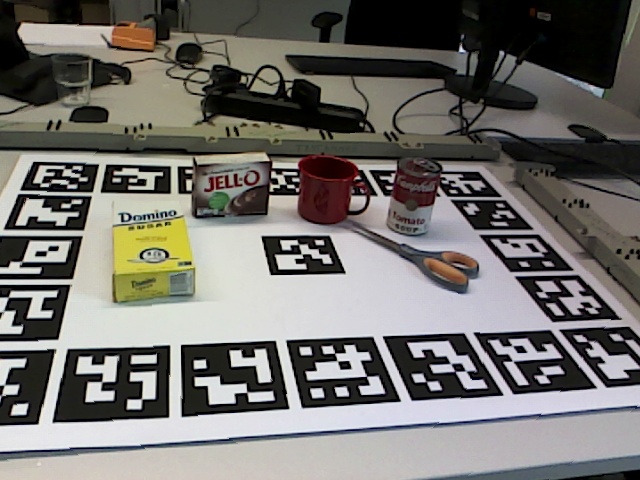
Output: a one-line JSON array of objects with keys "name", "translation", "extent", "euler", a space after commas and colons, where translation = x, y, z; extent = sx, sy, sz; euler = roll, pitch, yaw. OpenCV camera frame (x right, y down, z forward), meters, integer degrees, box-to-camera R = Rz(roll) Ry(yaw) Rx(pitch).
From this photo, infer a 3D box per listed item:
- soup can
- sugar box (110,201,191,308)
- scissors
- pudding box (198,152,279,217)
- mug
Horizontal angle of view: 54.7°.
[{"name": "soup can", "translation": [0.143, -0.059, 0.939], "extent": [0.068, 0.102, 0.068], "euler": [4, 32, -3]}, {"name": "sugar box", "translation": [-0.220, 0.013, 0.805], "extent": [0.092, 0.045, 0.177], "euler": [-4, 36, -13]}, {"name": "scissors", "translation": [0.134, 0.023, 0.875], "extent": [0.204, 0.016, 0.087], "euler": [29, 48, 27]}, {"name": "pudding box", "translation": [-0.122, -0.083, 0.916], "extent": [0.113, 0.090, 0.039], "euler": [-6, 42, -20]}, {"name": "mug", "translation": [0.023, -0.078, 0.950], "extent": [0.118, 0.081, 0.093], "euler": [31, 42, 34]}]
